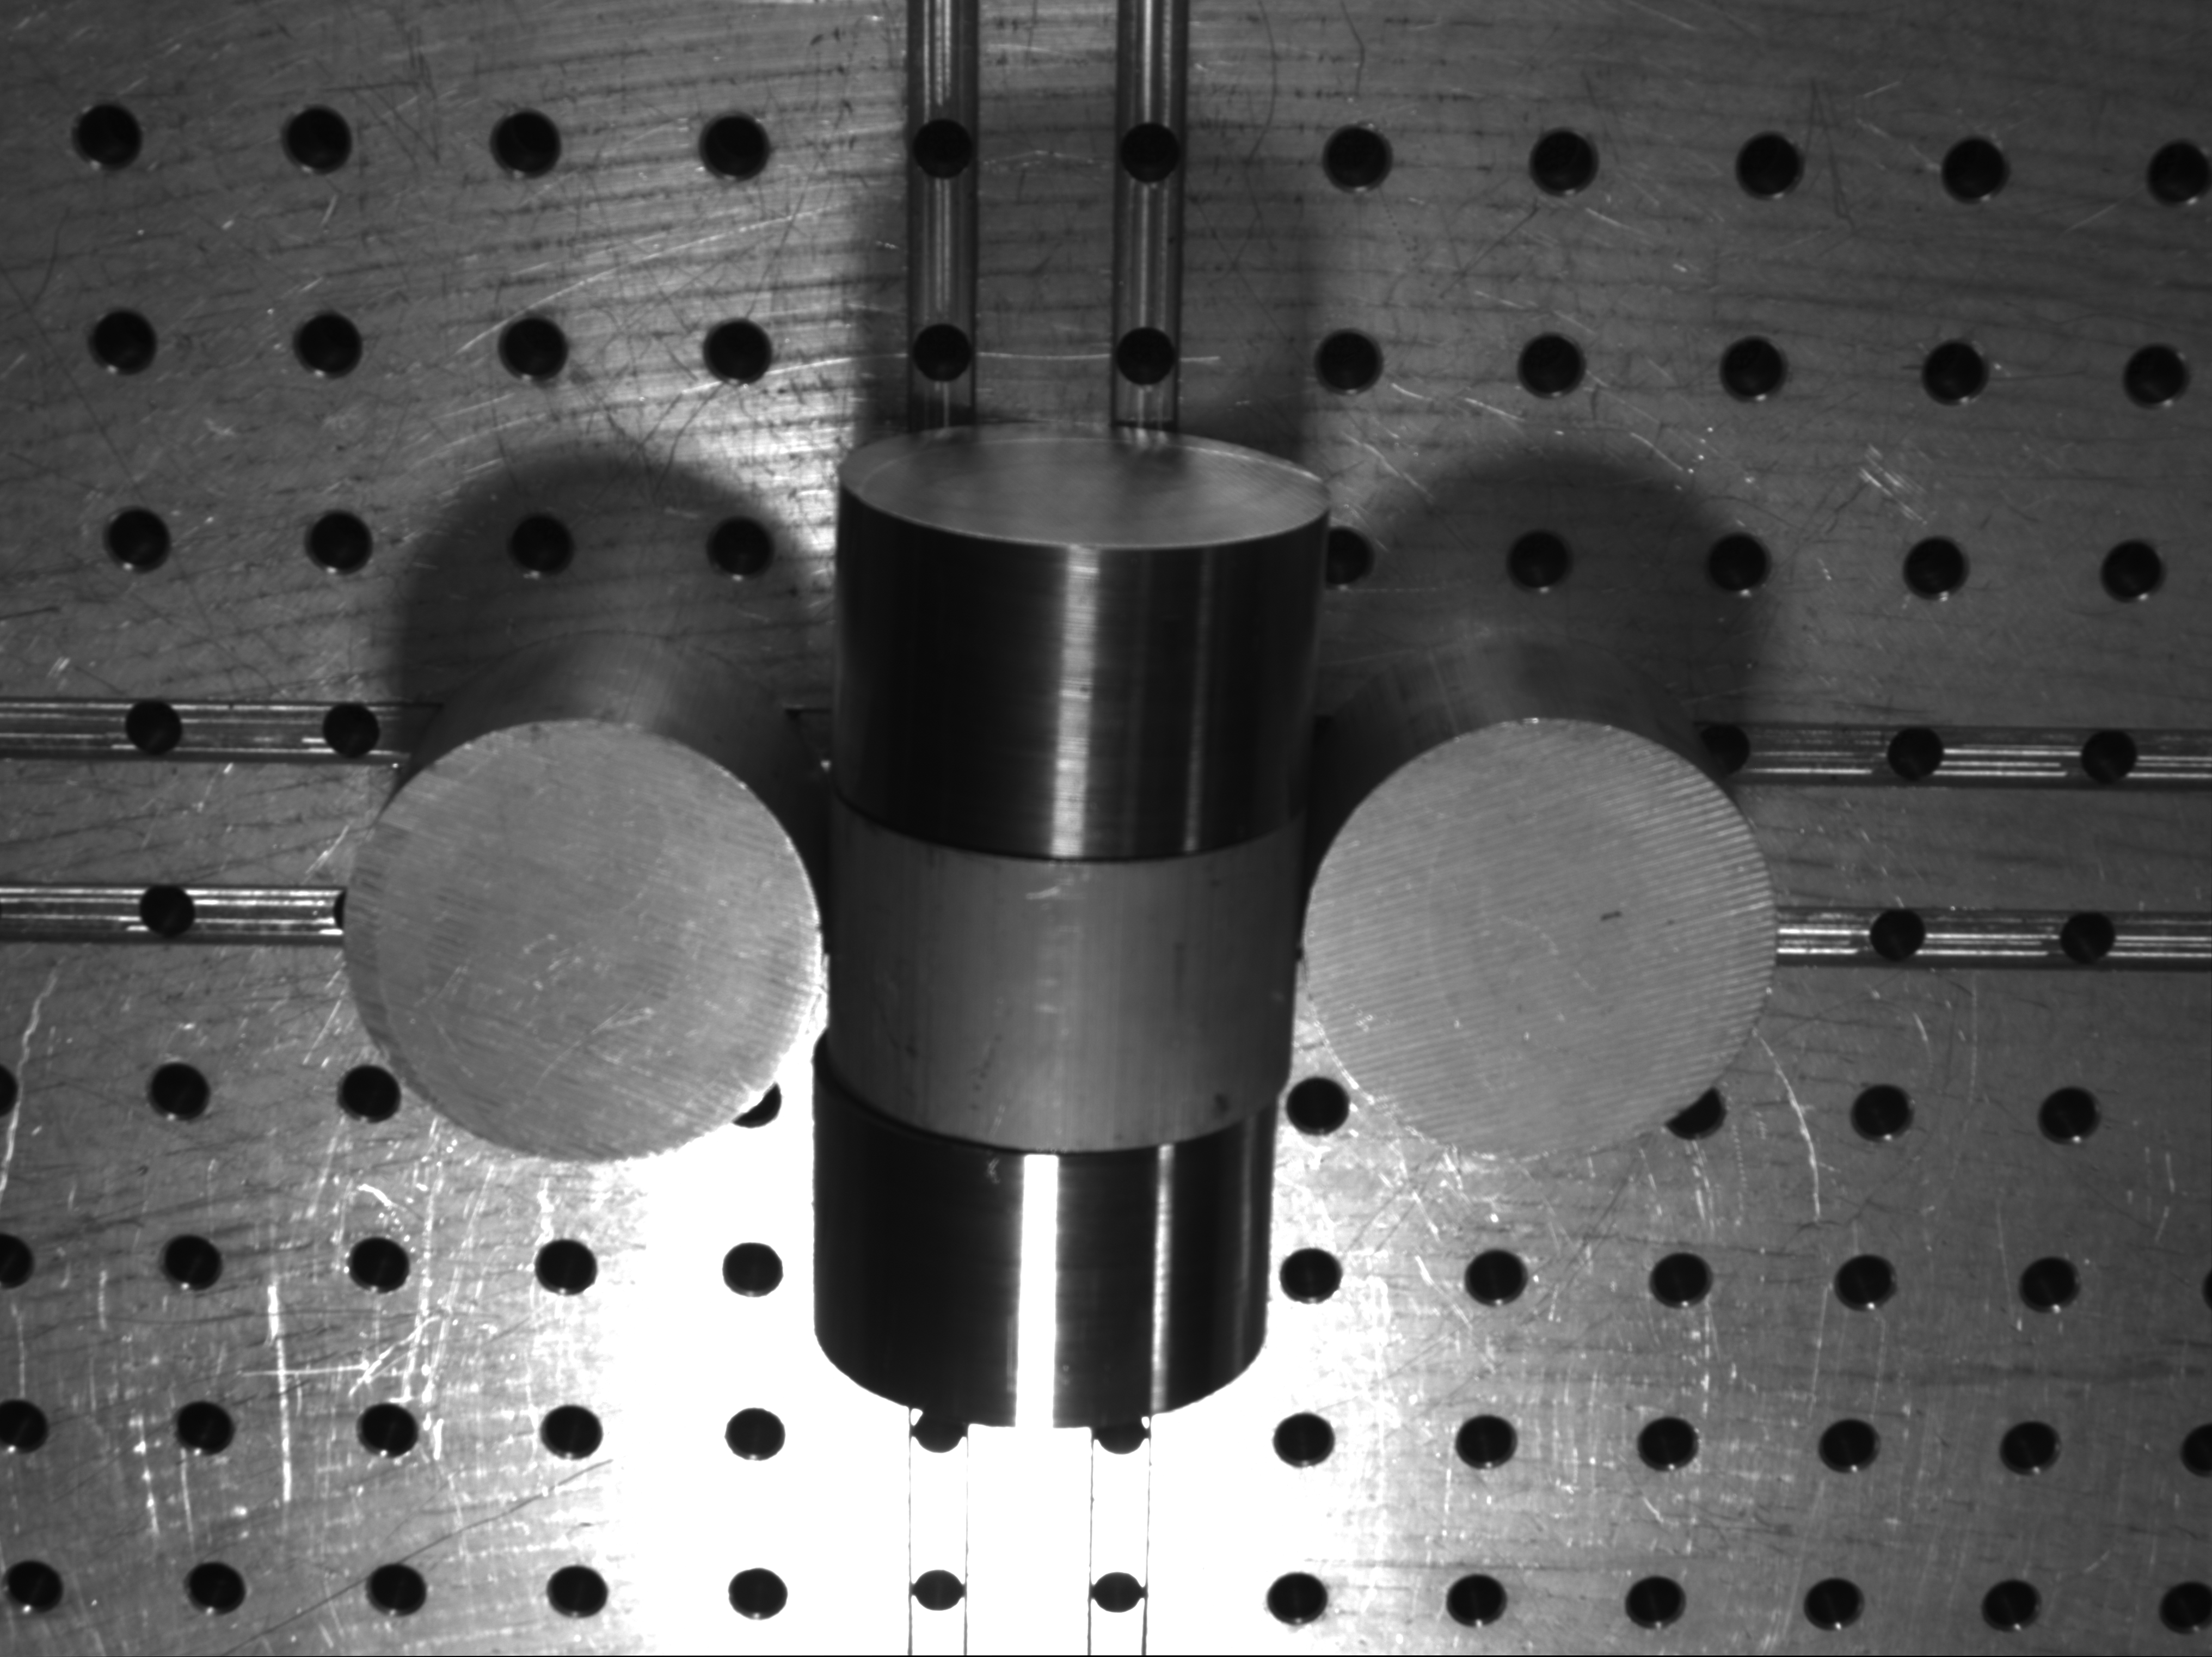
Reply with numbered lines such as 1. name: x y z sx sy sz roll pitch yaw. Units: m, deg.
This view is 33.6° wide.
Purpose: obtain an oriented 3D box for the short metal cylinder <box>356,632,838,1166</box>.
1. short metal cylinder: -0.085 0.012 0.635 0.080 0.050 0.080 0 110 -1

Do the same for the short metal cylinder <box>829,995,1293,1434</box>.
1. short metal cylinder: -0.008 0.064 0.639 0.080 0.080 0.050 1 110 -1

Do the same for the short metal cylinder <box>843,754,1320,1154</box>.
1. short metal cylinder: -0.005 0.015 0.621 0.080 0.080 0.050 2 110 -1

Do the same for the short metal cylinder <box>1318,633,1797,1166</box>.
1. short metal cylinder: 0.076 0.012 0.637 0.080 0.050 0.080 0 110 -1

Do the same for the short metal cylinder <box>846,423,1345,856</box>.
1. short metal cylinder: -0.002 -0.033 0.603 0.080 0.080 0.050 2 110 -1
